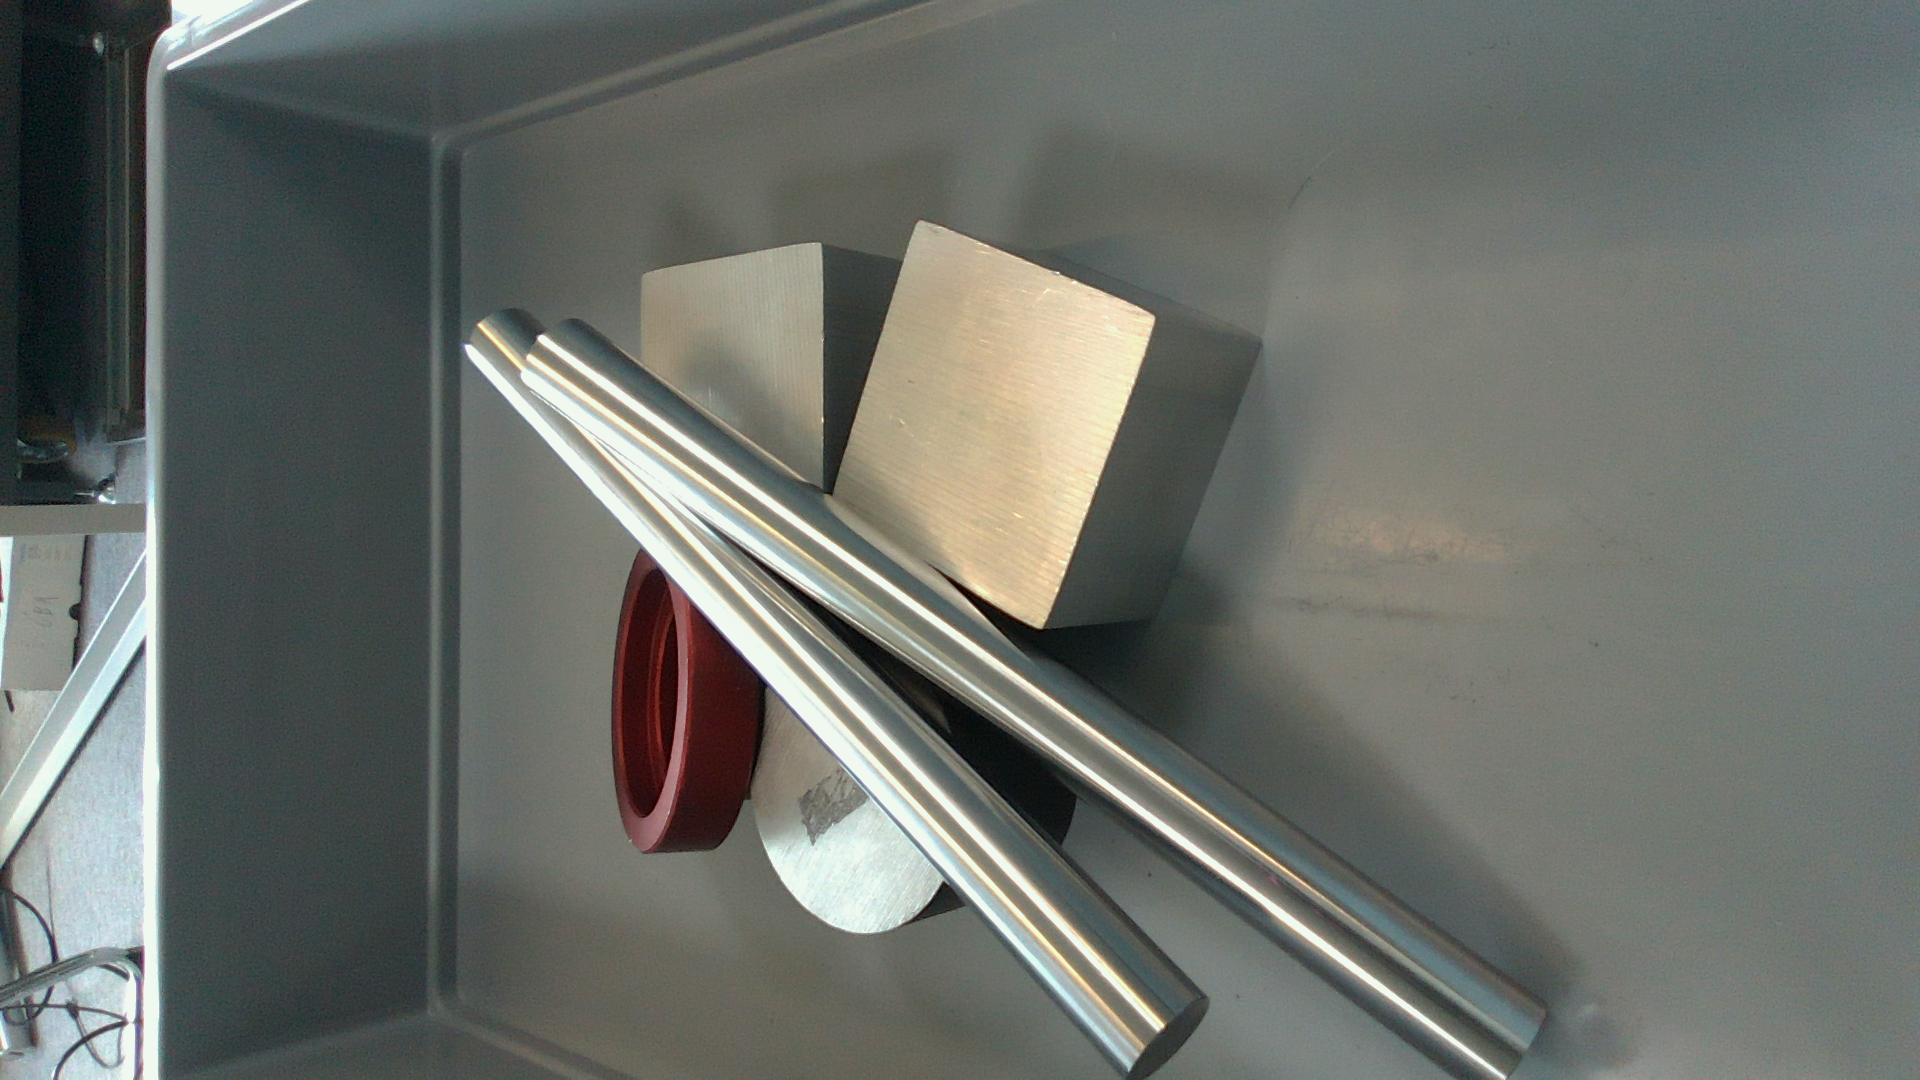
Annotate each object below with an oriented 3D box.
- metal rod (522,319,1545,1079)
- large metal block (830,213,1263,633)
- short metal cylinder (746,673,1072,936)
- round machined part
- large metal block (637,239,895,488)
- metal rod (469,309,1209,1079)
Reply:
[{"bbox_3d":[0.001,0.029,0.343,0.299,0.025,0.025,35,112,19],"label":"metal rod"},{"bbox_3d":[0.019,-0.031,0.359,0.080,0.050,0.080,31,109,36],"label":"large metal block"},{"bbox_3d":[-0.015,0.065,0.388,0.080,0.050,0.080,0,90,40],"label":"short metal cylinder"},{"bbox_3d":[-0.078,0.048,0.433,0.098,0.042,0.098,-14,75,63],"label":"round machined part"},{"bbox_3d":[-0.053,-0.042,0.417,0.080,0.050,0.080,1,91,40],"label":"large metal block"},{"bbox_3d":[-0.052,0.021,0.369,0.299,0.025,0.025,42,115,31],"label":"metal rod"}]
